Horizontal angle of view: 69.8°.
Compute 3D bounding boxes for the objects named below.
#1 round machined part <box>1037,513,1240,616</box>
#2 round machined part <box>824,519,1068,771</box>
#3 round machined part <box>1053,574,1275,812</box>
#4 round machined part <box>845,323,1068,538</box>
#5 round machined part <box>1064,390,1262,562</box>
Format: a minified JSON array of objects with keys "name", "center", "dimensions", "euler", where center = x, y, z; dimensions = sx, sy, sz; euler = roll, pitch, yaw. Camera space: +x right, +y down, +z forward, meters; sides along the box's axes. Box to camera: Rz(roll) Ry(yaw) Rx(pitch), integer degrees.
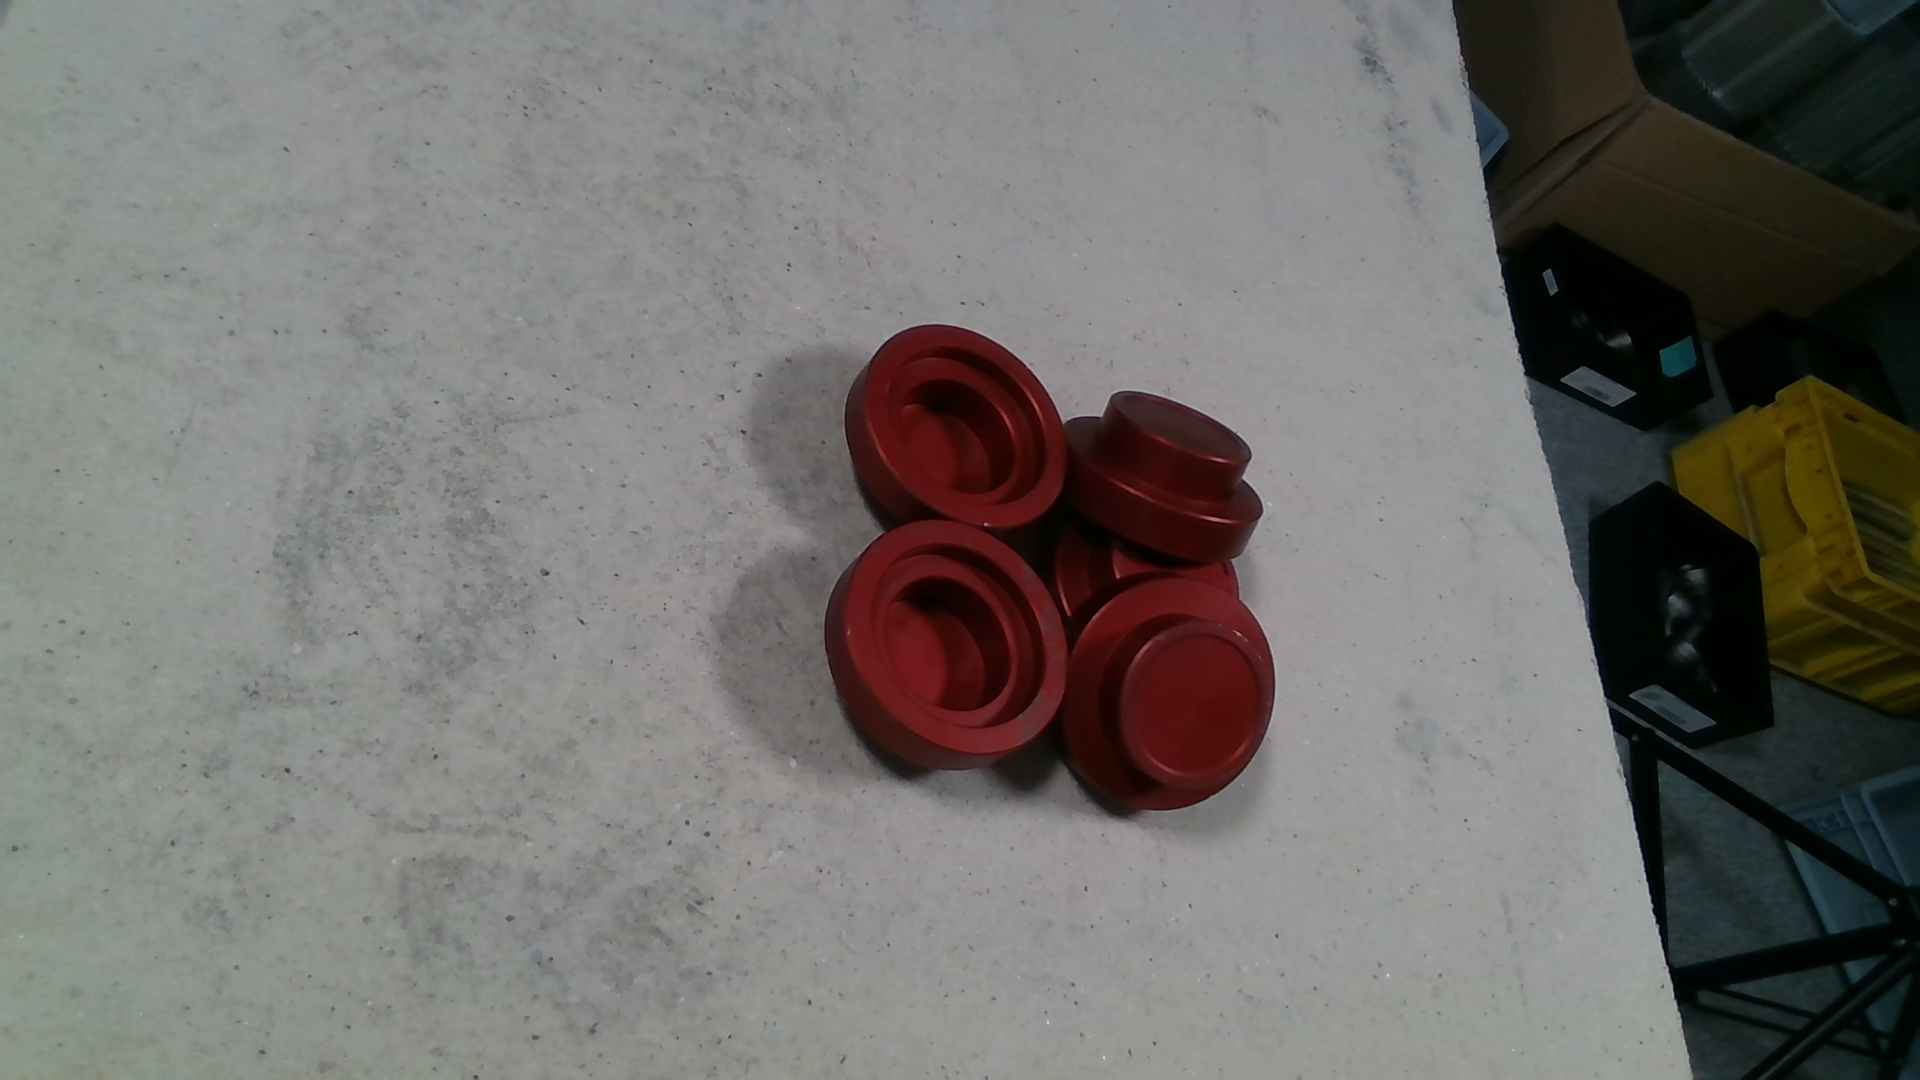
[{"name":"round machined part","center":[0.086,0.022,0.615],"dimensions":[0.098,0.042,0.098],"euler":[14,59,-25]},{"name":"round machined part","center":[-0.009,0.044,0.546],"dimensions":[0.098,0.042,0.098],"euler":[14,59,-25]},{"name":"round machined part","center":[0.088,0.064,0.567],"dimensions":[0.098,0.042,0.098],"euler":[-2,95,-19]},{"name":"round machined part","center":[-0.005,-0.041,0.594],"dimensions":[0.098,0.042,0.098],"euler":[14,59,-25]},{"name":"round machined part","center":[0.092,-0.034,0.619],"dimensions":[0.098,0.042,0.098],"euler":[18,24,-9]}]
